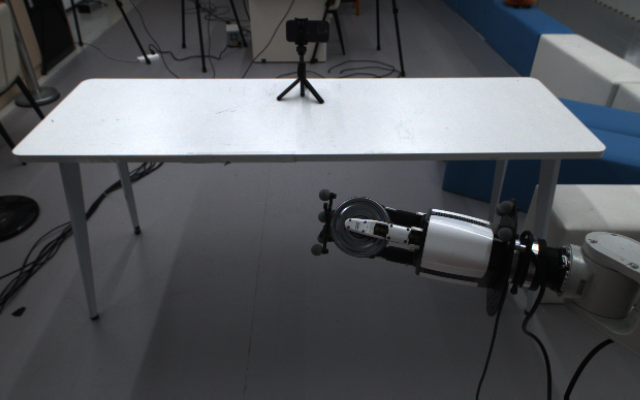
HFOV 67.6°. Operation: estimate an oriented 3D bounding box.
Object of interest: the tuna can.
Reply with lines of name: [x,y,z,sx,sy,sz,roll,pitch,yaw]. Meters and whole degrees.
tuna can: [0.062,0.041,0.682,0.085,0.085,0.034,9,-6,10]
